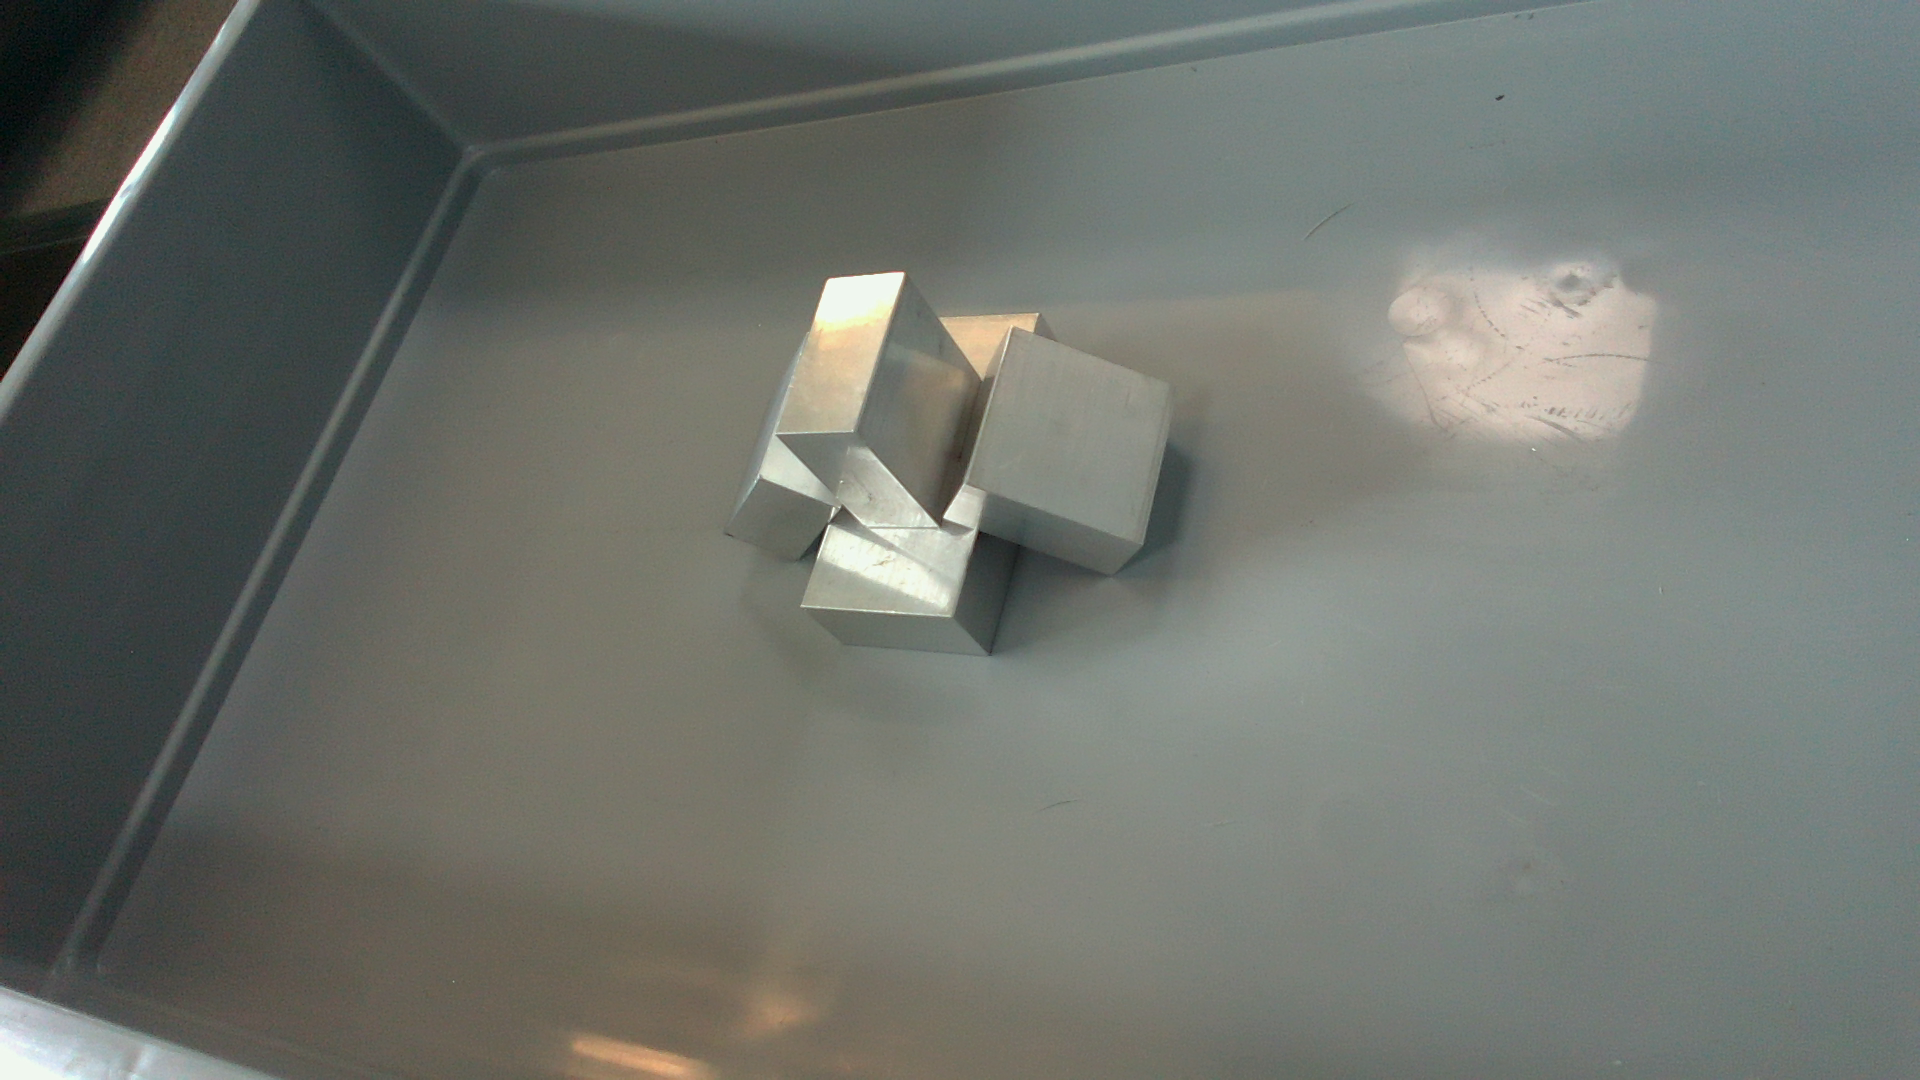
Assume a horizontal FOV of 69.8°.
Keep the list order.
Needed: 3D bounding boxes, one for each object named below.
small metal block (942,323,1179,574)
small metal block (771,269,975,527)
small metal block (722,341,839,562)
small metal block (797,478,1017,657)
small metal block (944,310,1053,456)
[{"bbox_3d":[0.028,-0.025,0.377,0.050,0.025,0.050,19,66,-7],"label":"small metal block"},{"bbox_3d":[-0.021,-0.038,0.377,0.025,0.050,0.050,1,62,28],"label":"small metal block"},{"bbox_3d":[-0.048,-0.027,0.417,0.050,0.025,0.050,137,151,-62],"label":"small metal block"},{"bbox_3d":[-0.013,0.004,0.396,0.050,0.025,0.050,2,63,30],"label":"small metal block"},{"bbox_3d":[0.000,-0.041,0.416,0.050,0.025,0.050,3,63,29],"label":"small metal block"}]
